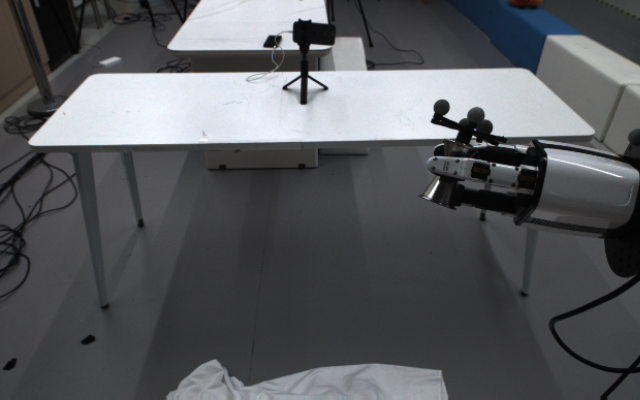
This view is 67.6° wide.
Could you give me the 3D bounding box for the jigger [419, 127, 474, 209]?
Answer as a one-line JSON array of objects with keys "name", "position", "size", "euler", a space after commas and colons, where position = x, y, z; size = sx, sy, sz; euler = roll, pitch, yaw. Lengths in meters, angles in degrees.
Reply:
[{"name": "jigger", "position": [0.139, -0.028, 0.527], "size": [0.043, 0.071, 0.043], "euler": [22, 5, -2]}]
